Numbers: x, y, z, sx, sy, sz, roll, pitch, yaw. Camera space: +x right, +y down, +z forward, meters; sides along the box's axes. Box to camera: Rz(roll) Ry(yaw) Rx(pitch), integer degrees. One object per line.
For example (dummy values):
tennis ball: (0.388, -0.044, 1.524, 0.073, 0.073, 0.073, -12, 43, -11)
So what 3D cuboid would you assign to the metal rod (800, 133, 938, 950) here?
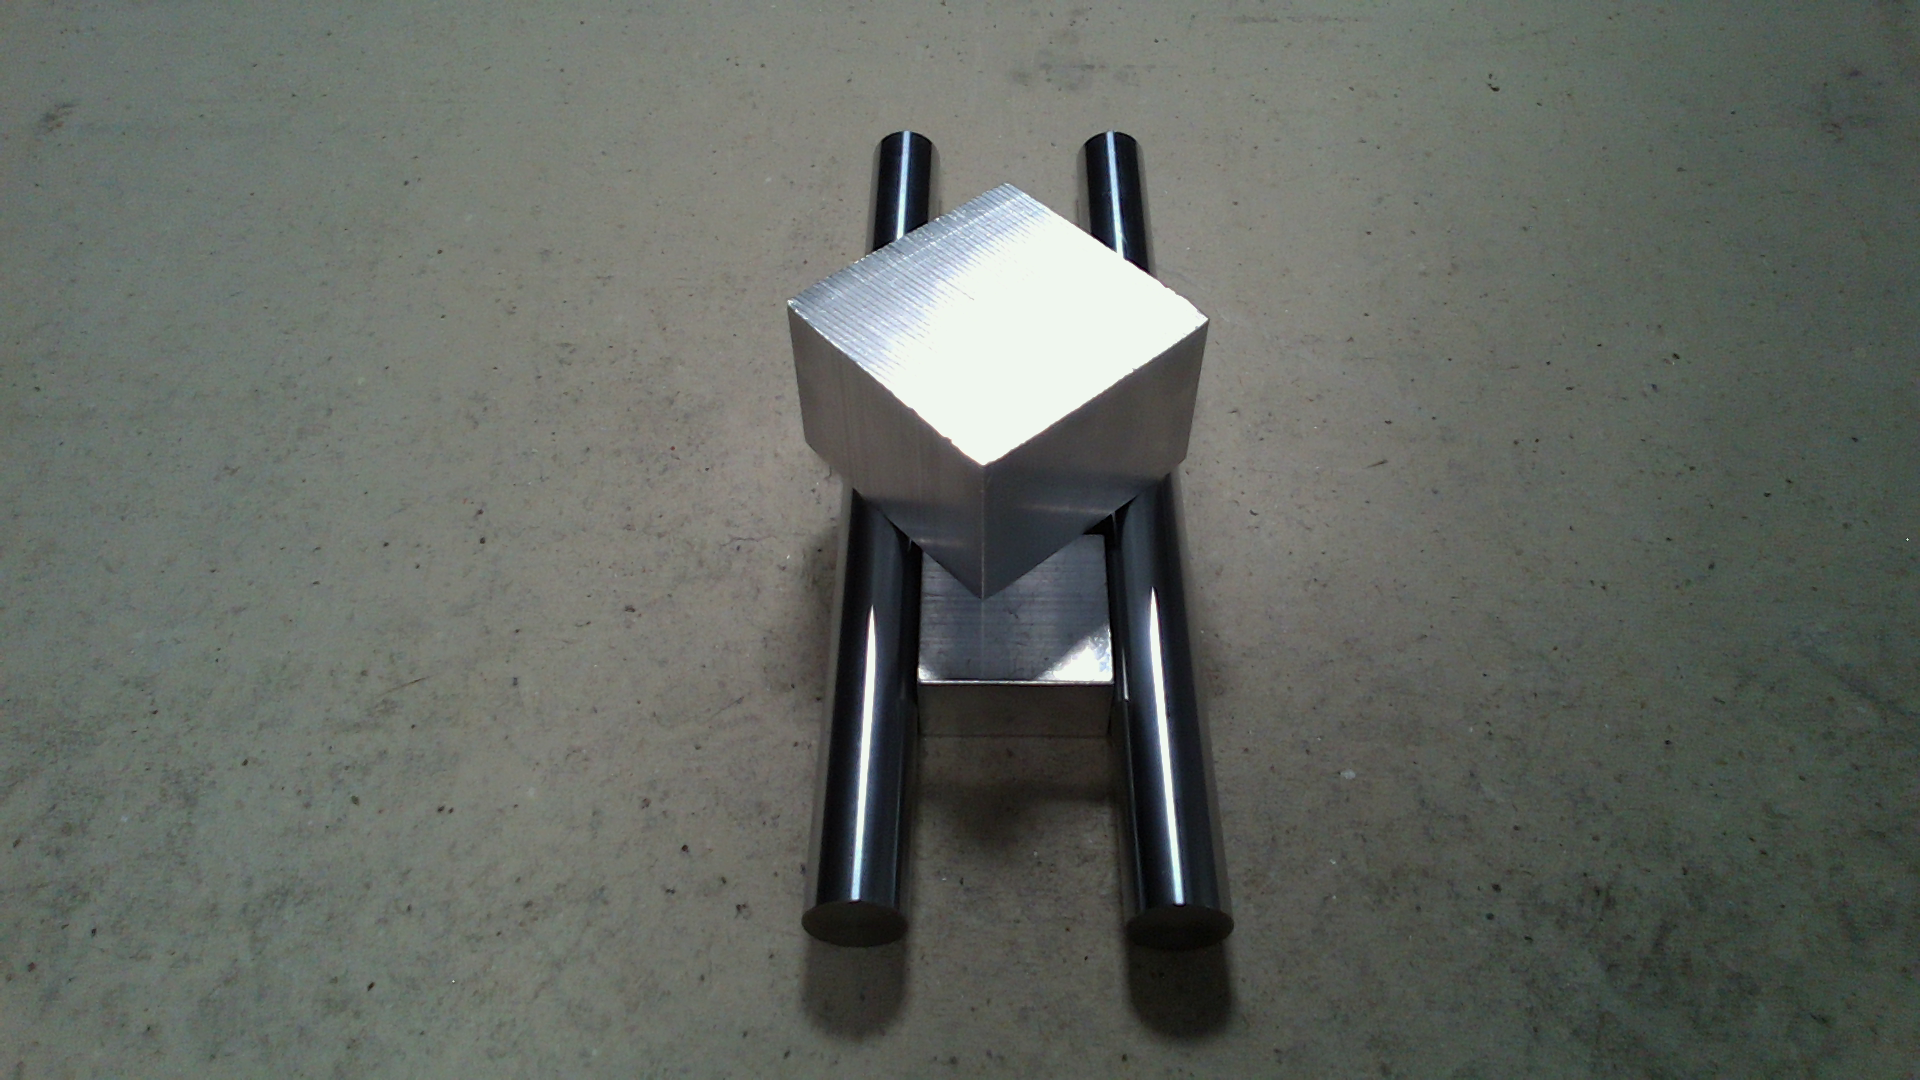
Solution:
metal rod: (-0.022, -0.025, 0.414, 0.025, 0.025, 0.300, 0, 50, 1)

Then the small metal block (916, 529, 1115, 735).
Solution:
small metal block: (0.014, 0.024, 0.370, 0.050, 0.025, 0.050, 1, 50, 1)

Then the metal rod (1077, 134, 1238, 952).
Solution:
metal rod: (0.053, -0.025, 0.413, 0.025, 0.025, 0.300, 0, 50, 1)

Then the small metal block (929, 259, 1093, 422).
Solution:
small metal block: (0.016, -0.065, 0.445, 0.050, 0.025, 0.050, 1, 50, 1)

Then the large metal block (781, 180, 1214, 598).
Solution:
large metal block: (0.010, -0.044, 0.377, 0.080, 0.050, 0.080, -34, 57, -25)
